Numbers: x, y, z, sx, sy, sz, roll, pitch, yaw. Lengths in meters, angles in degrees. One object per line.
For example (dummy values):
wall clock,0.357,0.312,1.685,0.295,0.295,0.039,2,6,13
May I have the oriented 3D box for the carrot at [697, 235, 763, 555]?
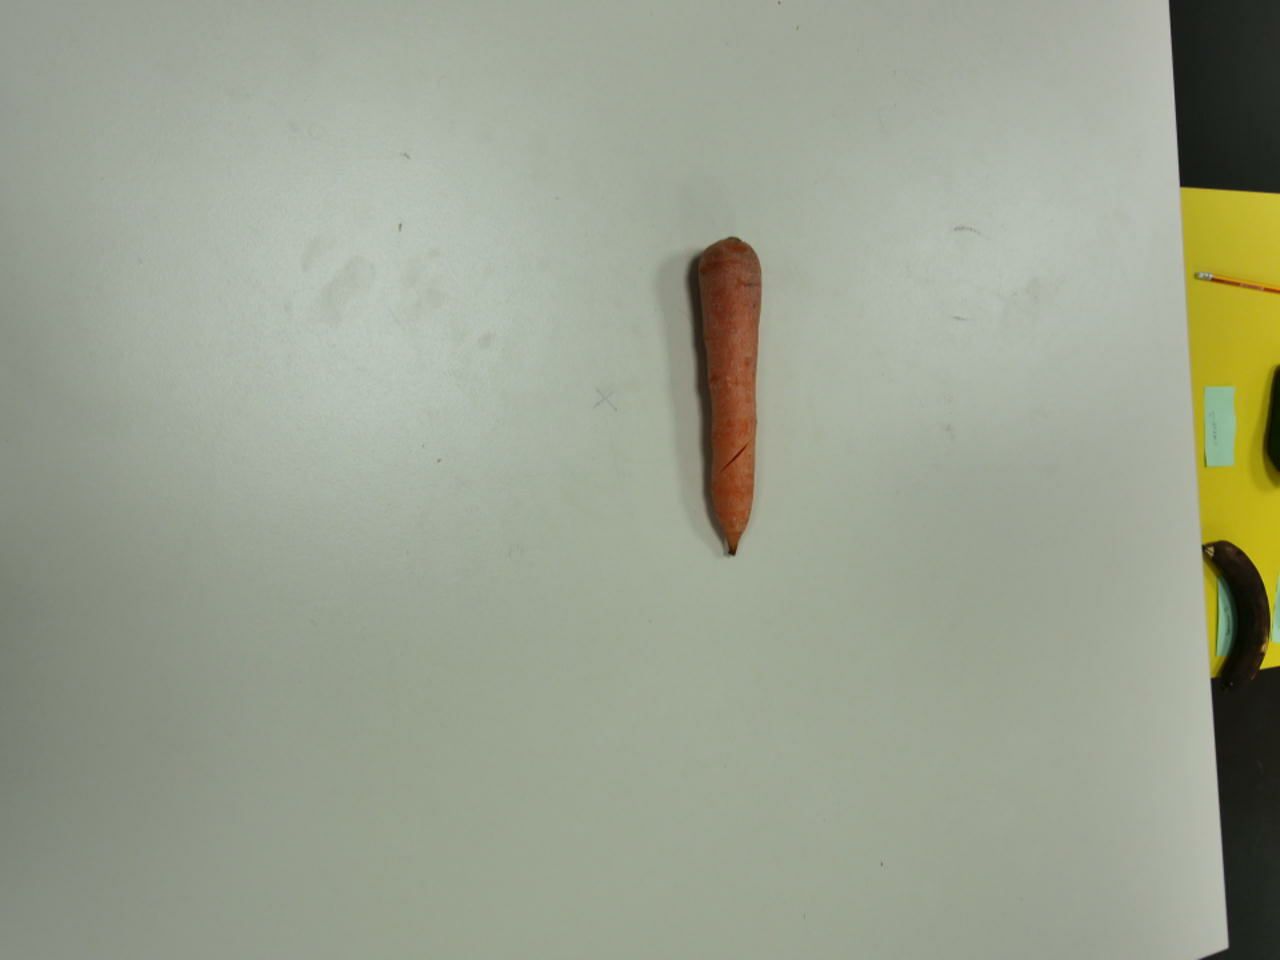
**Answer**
carrot,0.059,-0.049,0.613,0.039,0.041,0.196,-5,93,-22
